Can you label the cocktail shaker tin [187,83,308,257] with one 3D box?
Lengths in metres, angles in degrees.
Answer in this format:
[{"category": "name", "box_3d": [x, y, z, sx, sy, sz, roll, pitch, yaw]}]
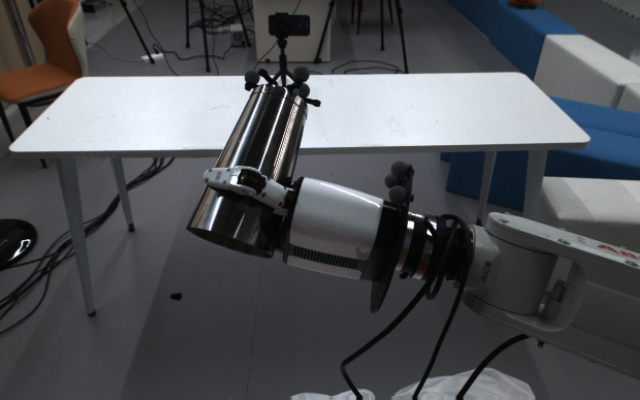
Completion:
[{"category": "cocktail shaker tin", "box_3d": [-0.068, -0.033, 0.518, 0.093, 0.093, 0.170, 13, 74, 15]}]
